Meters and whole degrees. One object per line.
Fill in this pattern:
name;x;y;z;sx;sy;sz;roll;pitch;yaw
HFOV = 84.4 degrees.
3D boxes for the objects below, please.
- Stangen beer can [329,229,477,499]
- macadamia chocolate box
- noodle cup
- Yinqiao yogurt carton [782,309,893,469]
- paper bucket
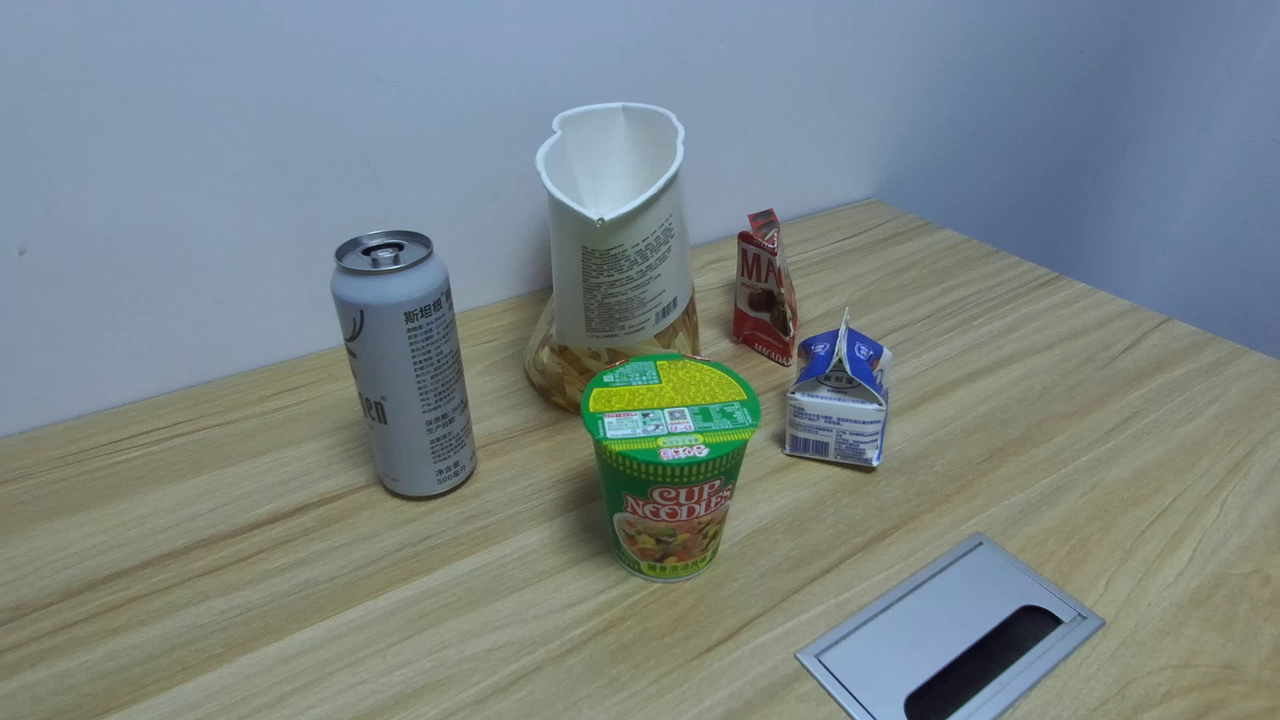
Stangen beer can;-0.147;0.007;0.450;0.067;0.171;0.067;0;33;0
macadamia chocolate box;0.115;-0.074;0.625;0.056;0.112;0.126;7;34;12
noodle cup;0.018;0.068;0.412;0.097;0.110;0.097;-1;34;1
Yinqiao yogurt carton;0.142;0.017;0.506;0.071;0.094;0.077;6;33;20
paper bucket;-0.020;-0.074;0.543;0.148;0.199;0.217;-17;37;-24
